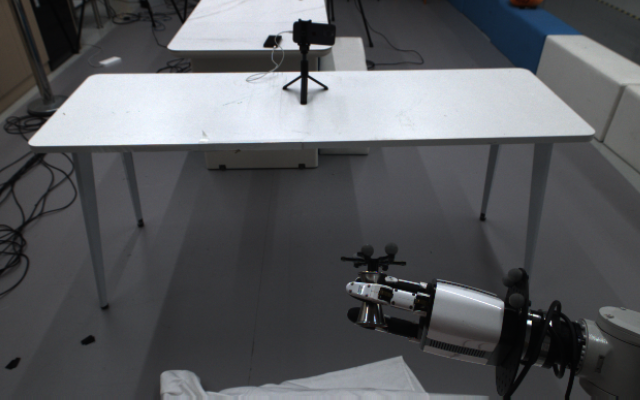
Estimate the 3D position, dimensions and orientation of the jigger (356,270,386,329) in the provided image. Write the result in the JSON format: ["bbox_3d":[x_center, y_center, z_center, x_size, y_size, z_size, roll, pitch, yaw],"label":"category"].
[{"bbox_3d":[0.067,0.131,0.646,0.043,0.043,0.071,4,71,3],"label":"jigger"}]
